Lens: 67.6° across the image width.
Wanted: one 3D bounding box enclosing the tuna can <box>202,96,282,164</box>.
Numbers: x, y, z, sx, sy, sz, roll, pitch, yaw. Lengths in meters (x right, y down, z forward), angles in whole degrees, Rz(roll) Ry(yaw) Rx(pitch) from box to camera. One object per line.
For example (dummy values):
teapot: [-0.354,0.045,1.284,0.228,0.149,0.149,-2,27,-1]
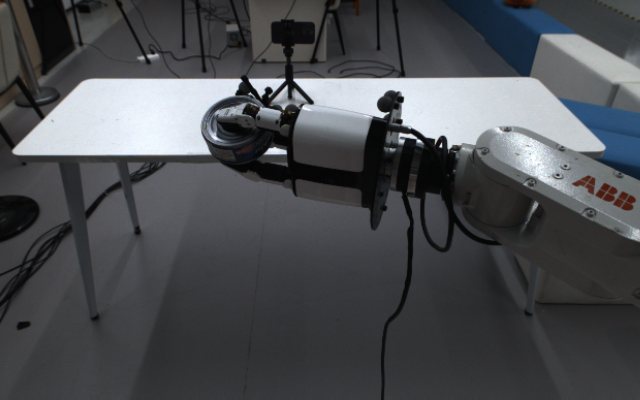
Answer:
tuna can: [-0.098,-0.082,0.596,0.085,0.034,0.085,-4,58,6]
